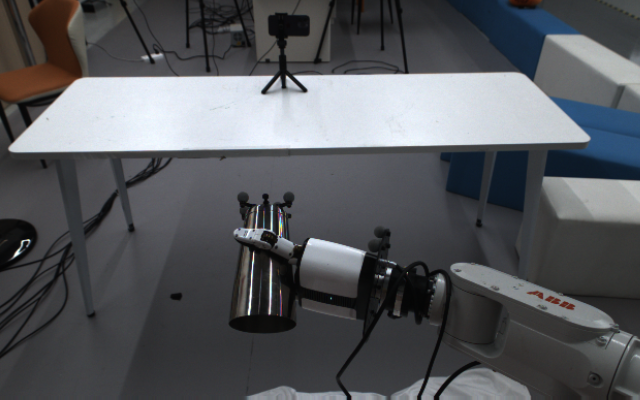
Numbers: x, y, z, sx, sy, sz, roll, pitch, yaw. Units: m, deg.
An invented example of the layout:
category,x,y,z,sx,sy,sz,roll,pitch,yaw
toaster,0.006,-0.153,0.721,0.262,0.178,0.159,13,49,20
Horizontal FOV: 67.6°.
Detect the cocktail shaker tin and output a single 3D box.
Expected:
category,x,y,z,sx,sy,sz,roll,pitch,yaw
cocktail shaker tin,-0.081,0.095,0.693,0.093,0.093,0.170,0,59,-3
